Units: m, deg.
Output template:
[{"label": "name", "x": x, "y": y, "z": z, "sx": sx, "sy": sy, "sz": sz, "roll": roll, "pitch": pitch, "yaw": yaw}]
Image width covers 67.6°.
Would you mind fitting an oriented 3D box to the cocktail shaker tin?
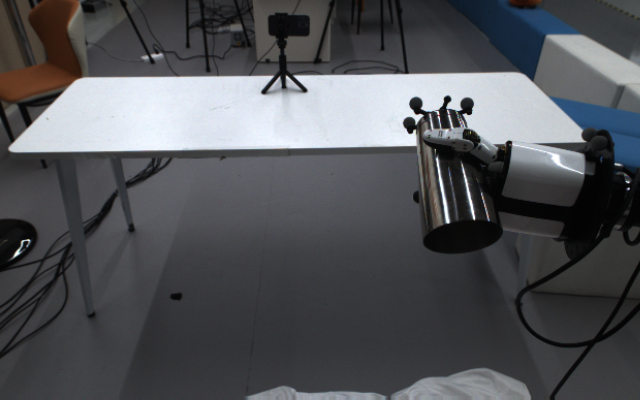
[{"label": "cocktail shaker tin", "x": 0.164, "y": -0.029, "z": 0.606, "sx": 0.093, "sy": 0.093, "sz": 0.170, "roll": 0, "pitch": 59, "yaw": -3}]
